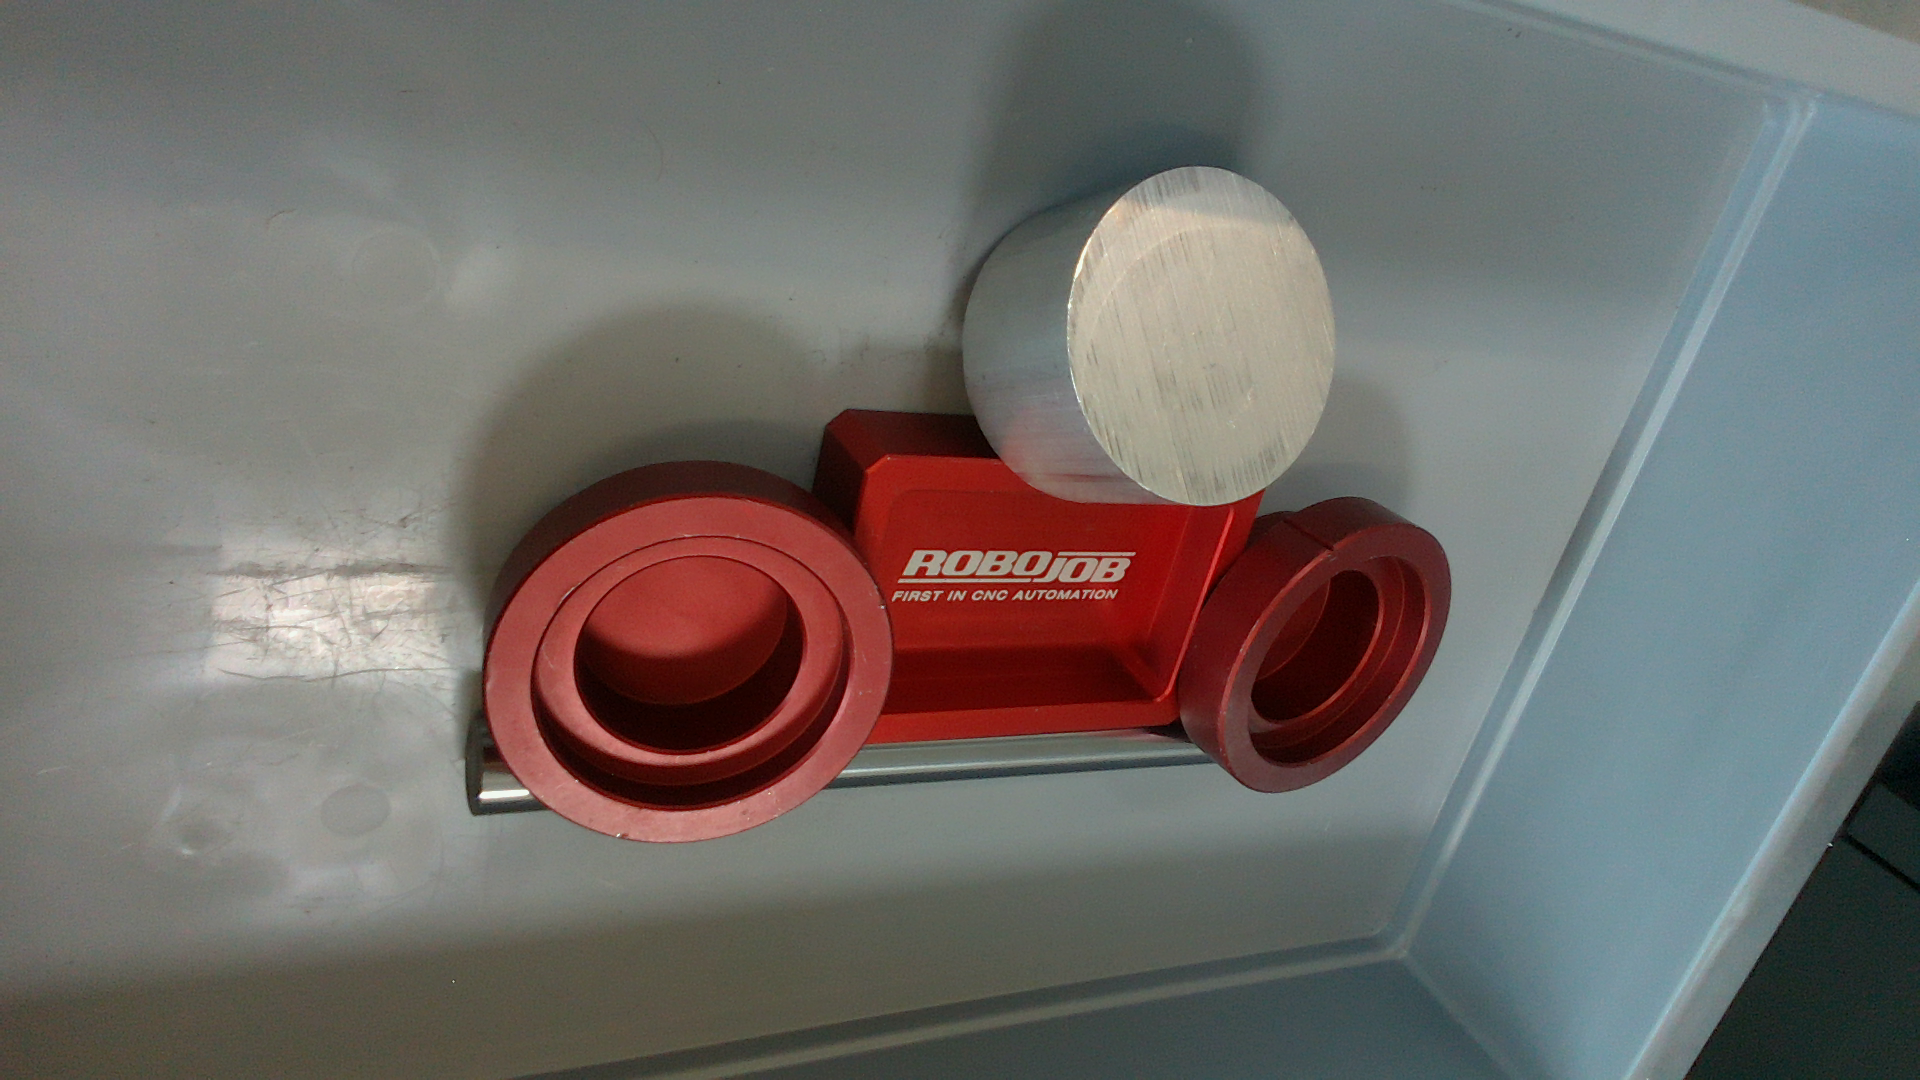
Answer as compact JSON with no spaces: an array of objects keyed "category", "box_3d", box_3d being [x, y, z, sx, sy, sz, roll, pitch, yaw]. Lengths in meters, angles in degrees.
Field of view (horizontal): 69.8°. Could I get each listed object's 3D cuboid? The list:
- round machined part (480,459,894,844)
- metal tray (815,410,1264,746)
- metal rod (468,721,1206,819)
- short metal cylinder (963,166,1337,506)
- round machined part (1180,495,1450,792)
[{"category":"round machined part","box_3d":[-0.069,0.024,0.348,0.098,0.042,0.098,-8,118,-15]},{"category":"metal tray","box_3d":[0.018,0.012,0.401,0.130,0.030,0.090,0,119,-29]},{"category":"metal rod","box_3d":[0.006,0.063,0.429,0.301,0.025,0.025,2,118,-29]},{"category":"short metal cylinder","box_3d":[0.048,-0.049,0.348,0.080,0.050,0.080,-1,93,-28]},{"category":"round machined part","box_3d":[0.109,0.029,0.447,0.098,0.042,0.098,-19,126,-27]}]
